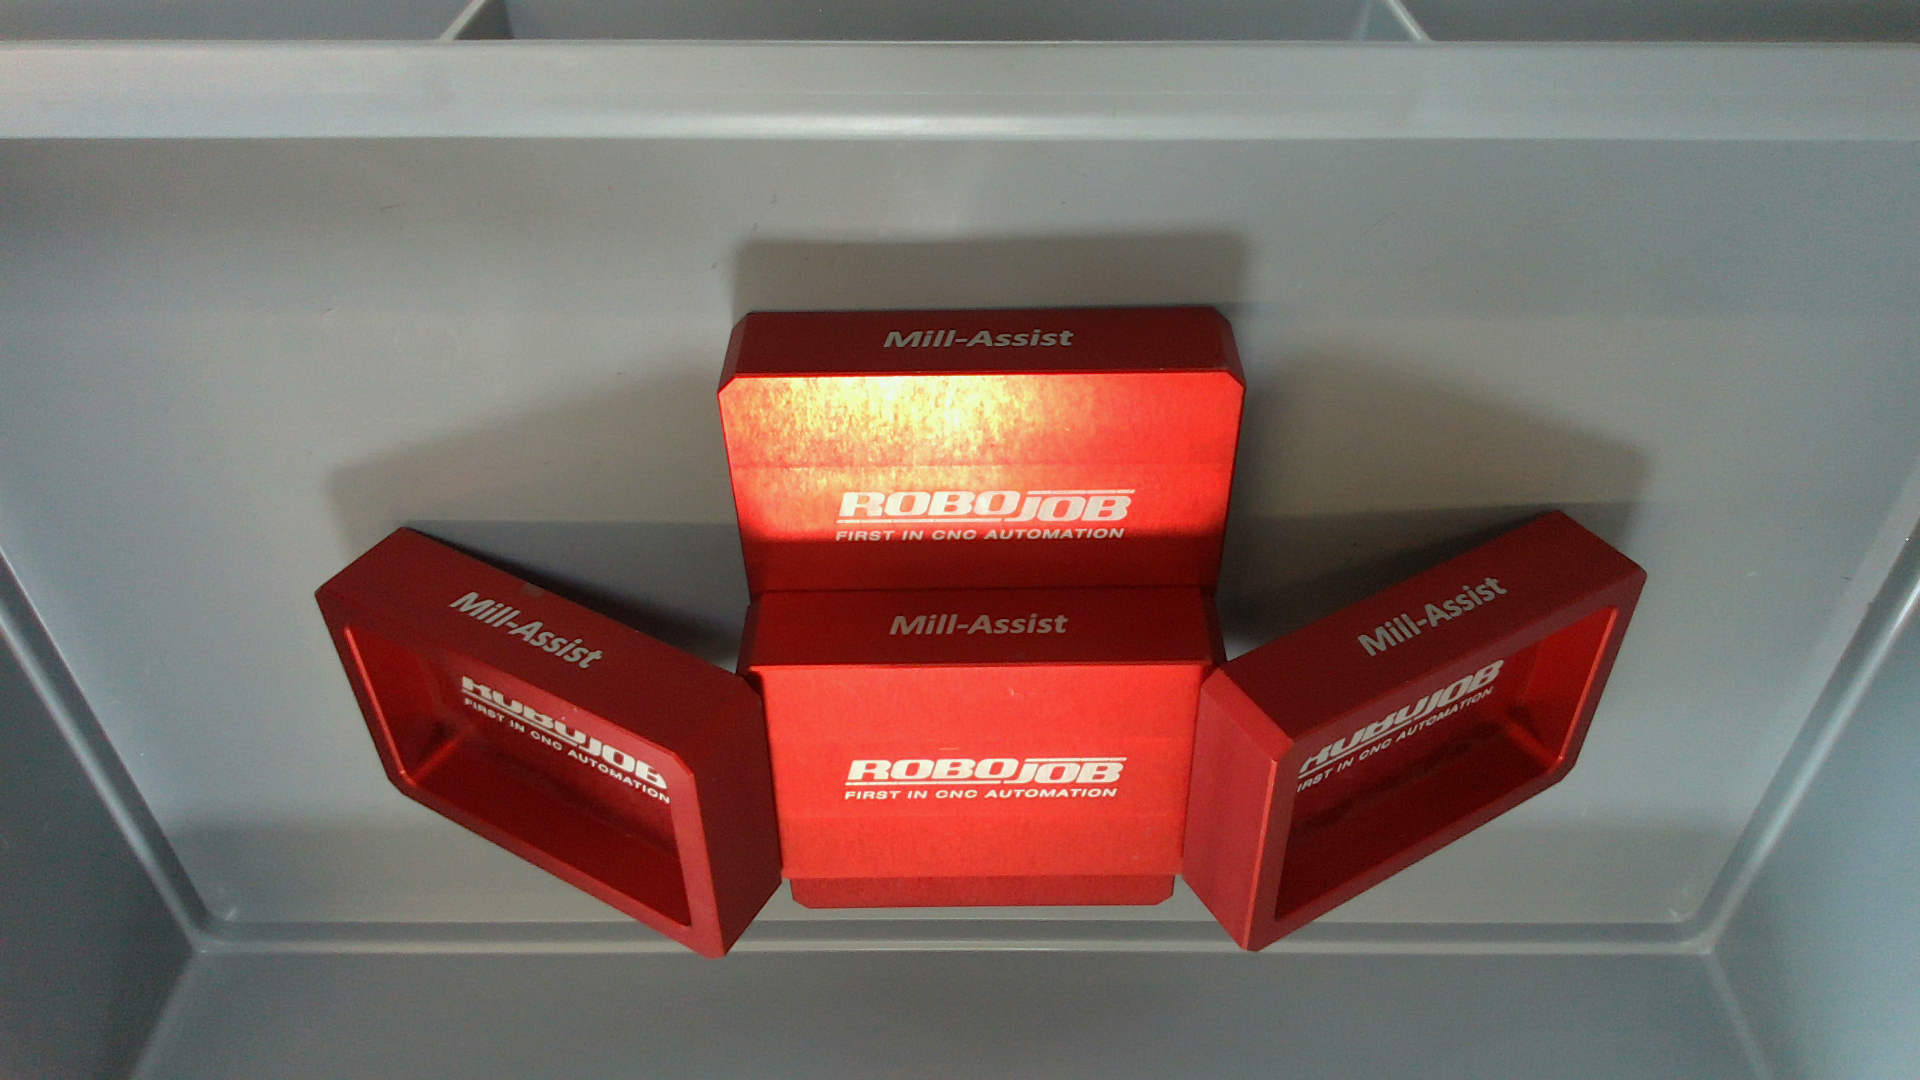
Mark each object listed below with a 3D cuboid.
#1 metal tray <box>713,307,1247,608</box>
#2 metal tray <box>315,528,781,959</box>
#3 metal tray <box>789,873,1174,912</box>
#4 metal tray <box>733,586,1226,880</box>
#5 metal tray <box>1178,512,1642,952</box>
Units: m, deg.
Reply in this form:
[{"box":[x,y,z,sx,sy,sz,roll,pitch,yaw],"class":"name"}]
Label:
[{"box":[0.005,-0.016,0.371,0.130,0.030,0.090,-1,130,0],"class":"metal tray"},{"box":[-0.116,0.058,0.394,0.130,0.030,0.090,21,135,21],"class":"metal tray"},{"box":[0.007,0.083,0.455,0.130,0.030,0.090,-1,130,0],"class":"metal tray"},{"box":[0.006,0.057,0.395,0.130,0.030,0.090,-1,130,0],"class":"metal tray"},{"box":[0.126,0.054,0.391,0.130,0.030,0.090,-22,134,-21],"class":"metal tray"}]
